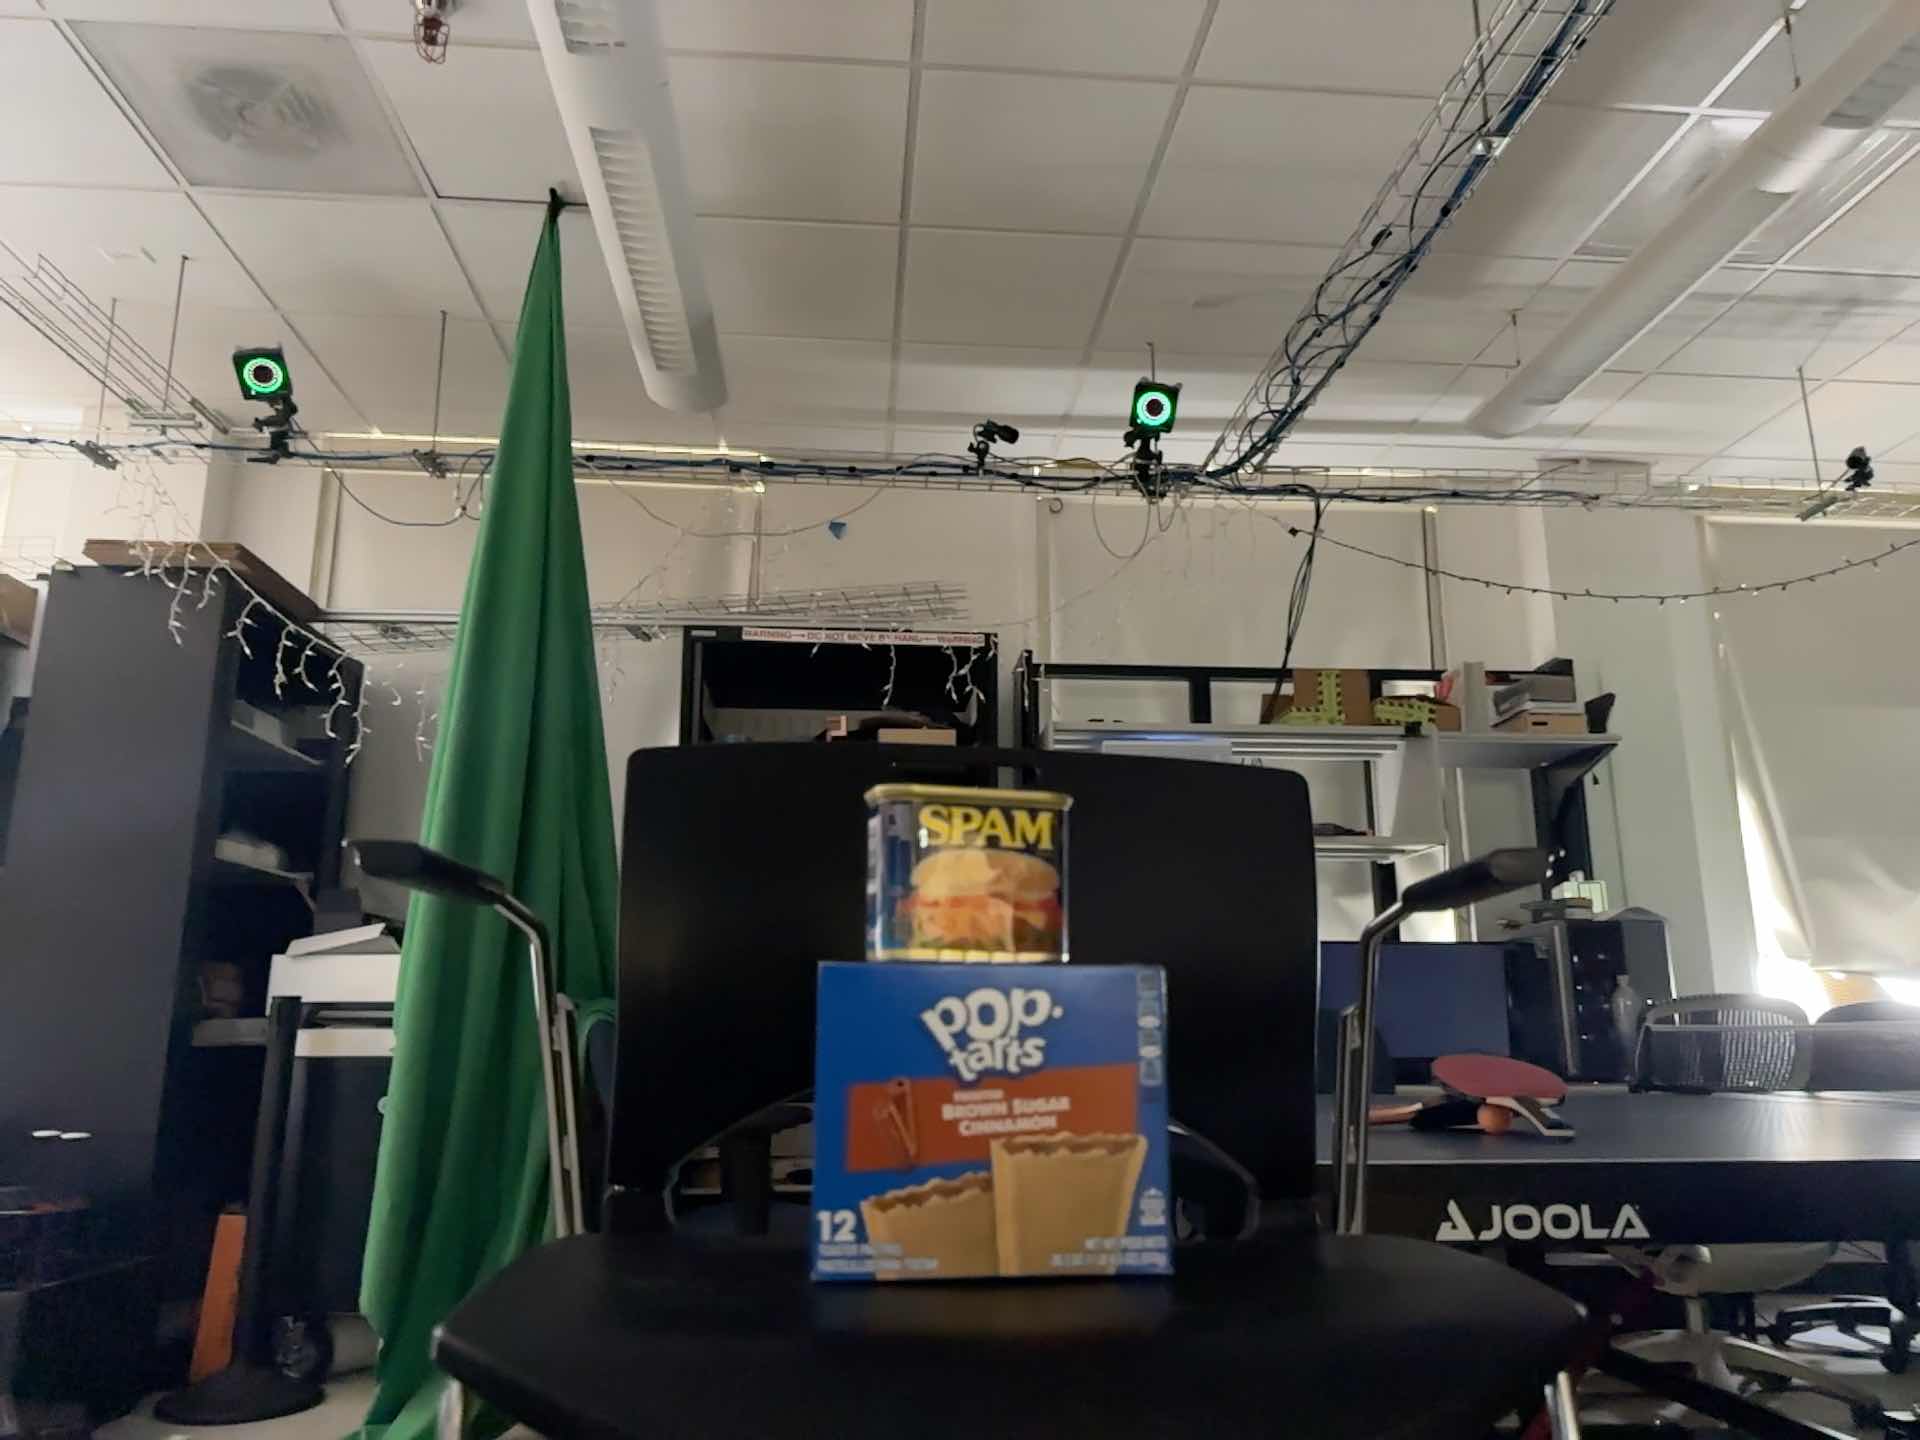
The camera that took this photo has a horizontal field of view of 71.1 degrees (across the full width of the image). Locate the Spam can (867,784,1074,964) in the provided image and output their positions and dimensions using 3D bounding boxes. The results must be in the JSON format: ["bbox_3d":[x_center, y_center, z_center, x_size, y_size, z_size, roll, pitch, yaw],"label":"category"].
[{"bbox_3d":[0.003,0.078,0.673,0.100,0.083,0.056,3,-9,-11],"label":"Spam can"}]

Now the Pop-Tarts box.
[{"bbox_3d":[0.012,0.192,0.661,0.161,0.135,0.075,1,-9,-8],"label":"Pop-Tarts box"}]
